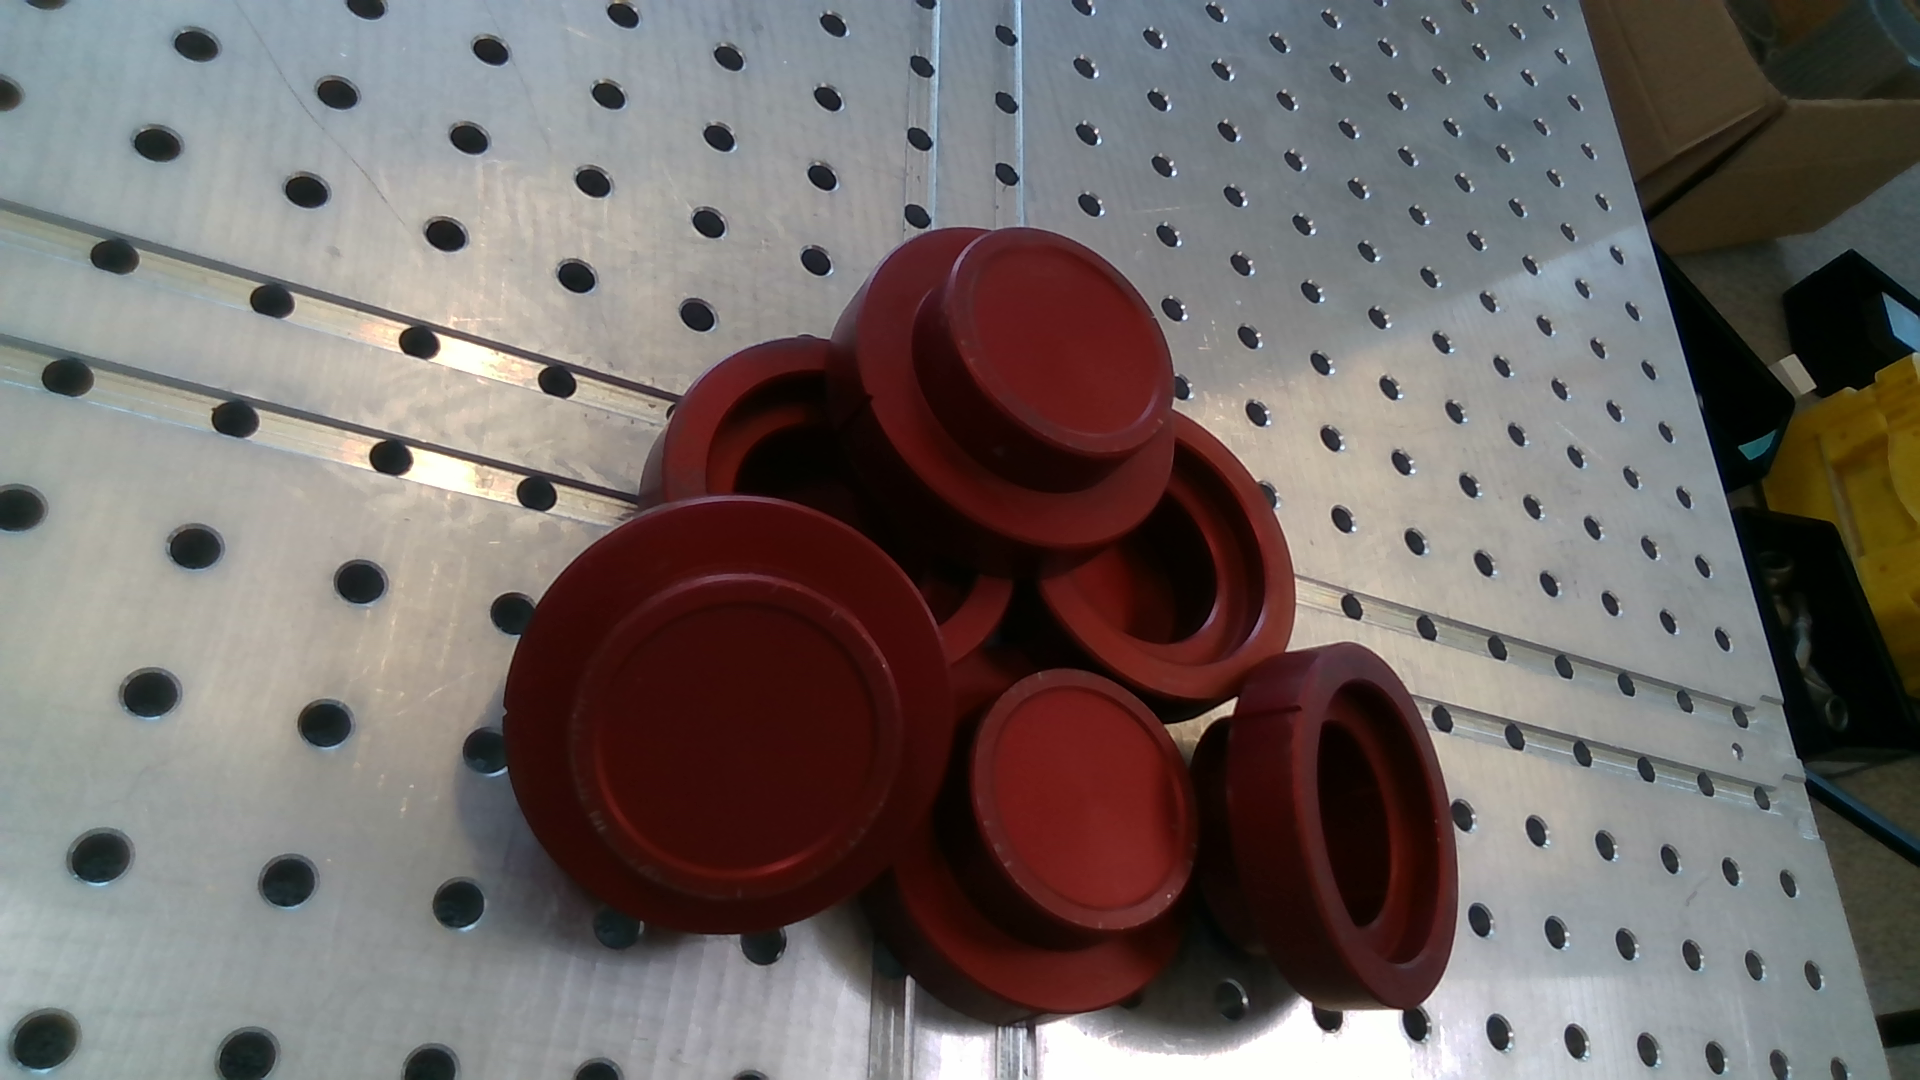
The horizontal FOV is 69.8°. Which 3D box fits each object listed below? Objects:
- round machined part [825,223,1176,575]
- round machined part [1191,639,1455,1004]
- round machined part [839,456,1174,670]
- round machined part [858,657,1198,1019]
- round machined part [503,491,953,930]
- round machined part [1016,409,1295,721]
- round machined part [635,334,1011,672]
[{"bbox_3d":[0.017,-0.044,0.365,0.098,0.042,0.098,14,59,-25],"label":"round machined part"},{"bbox_3d":[0.099,0.080,0.389,0.098,0.042,0.098,20,63,-46],"label":"round machined part"},{"bbox_3d":[0.010,-0.008,0.395,0.098,0.042,0.098,14,59,-25],"label":"round machined part"},{"bbox_3d":[0.022,0.071,0.360,0.098,0.042,0.098,14,59,-25],"label":"round machined part"},{"bbox_3d":[-0.049,0.038,0.303,0.098,0.042,0.098,-1,95,-12],"label":"round machined part"},{"bbox_3d":[0.048,0.008,0.411,0.098,0.042,0.098,14,59,-25],"label":"round machined part"},{"bbox_3d":[-0.038,-0.002,0.363,0.098,0.042,0.098,14,59,-25],"label":"round machined part"}]
